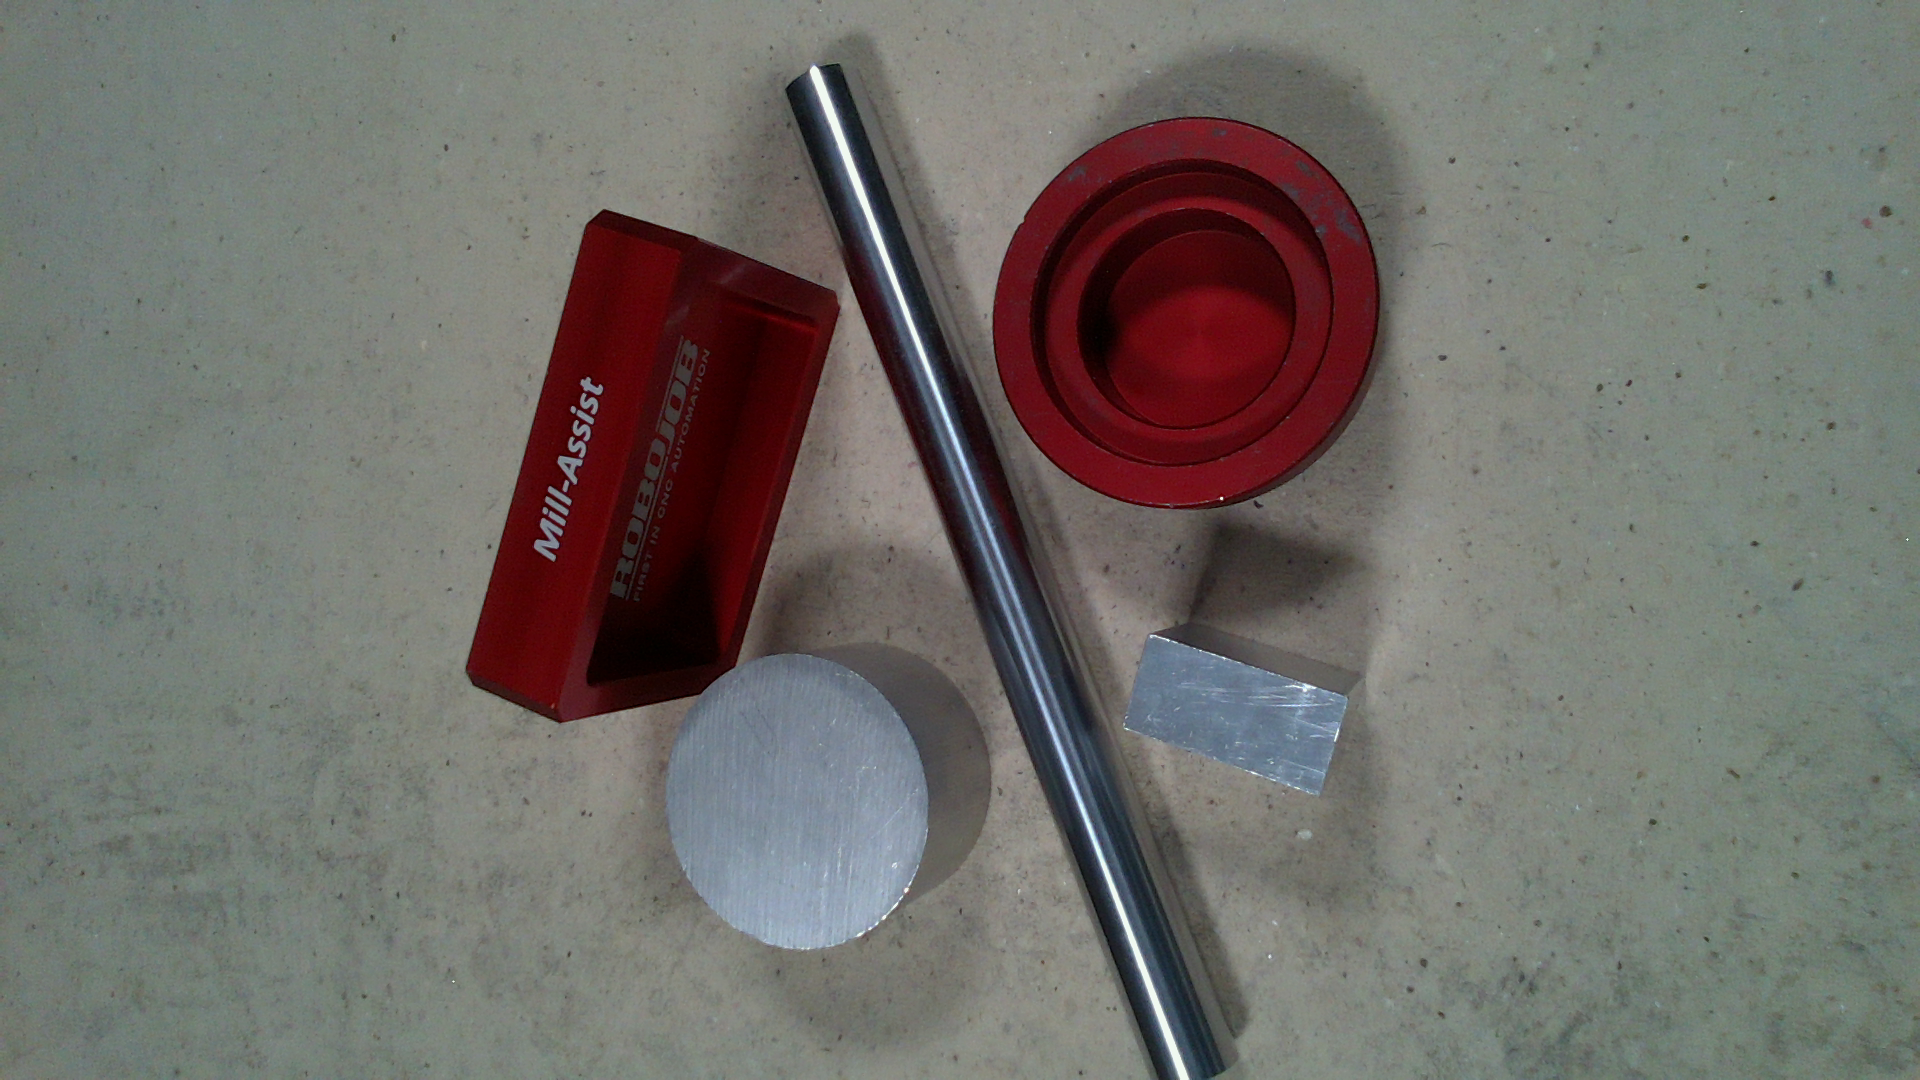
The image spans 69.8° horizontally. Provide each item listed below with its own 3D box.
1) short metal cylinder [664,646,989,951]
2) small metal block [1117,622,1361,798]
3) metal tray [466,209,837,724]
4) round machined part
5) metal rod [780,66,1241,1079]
[{"bbox_3d":[-0.037,0.071,0.396,0.080,0.050,0.080,0,90,20],"label":"short metal cylinder"},{"bbox_3d":[0.073,0.041,0.353,0.050,0.050,0.025,18,96,19],"label":"small metal block"},{"bbox_3d":[-0.084,-0.018,0.392,0.030,0.090,0.130,19,97,19],"label":"metal tray"},{"bbox_3d":[0.061,-0.057,0.365,0.098,0.042,0.098,0,90,20],"label":"round machined part"},{"bbox_3d":[0.011,0.004,0.393,0.025,0.025,0.300,-23,82,19],"label":"metal rod"}]
